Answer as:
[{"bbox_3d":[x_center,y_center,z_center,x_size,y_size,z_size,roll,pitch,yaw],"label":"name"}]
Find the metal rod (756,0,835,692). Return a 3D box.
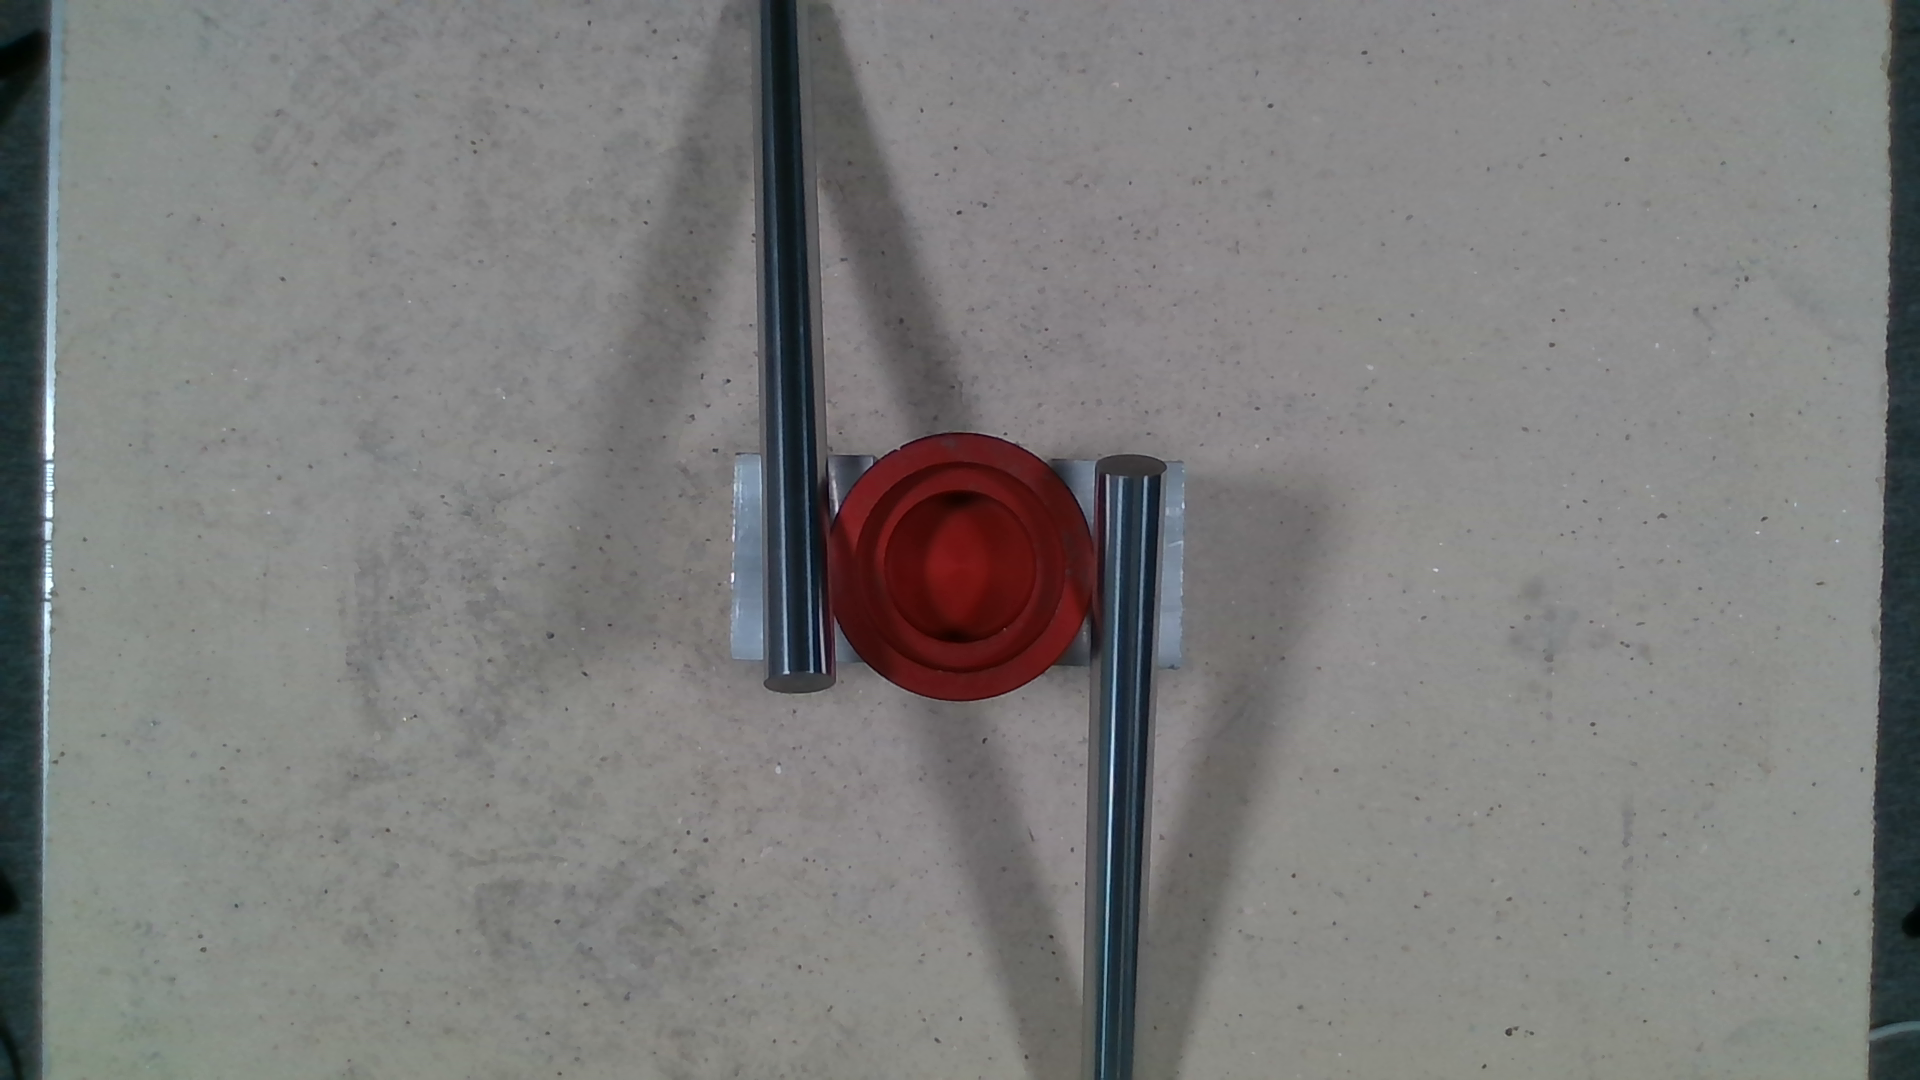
[{"bbox_3d":[-0.065,-0.088,0.531,0.025,0.025,0.299,-4,68,0],"label":"metal rod"}]

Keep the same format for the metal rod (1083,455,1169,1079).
[{"bbox_3d":[0.062,0.114,0.534,0.025,0.025,0.301,-1,112,0],"label":"metal rod"}]

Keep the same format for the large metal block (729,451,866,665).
[{"bbox_3d":[-0.061,0.007,0.559,0.050,0.080,0.080,1,90,0],"label":"large metal block"}]

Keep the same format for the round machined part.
[{"bbox_3d":[0.000,0.010,0.520,0.098,0.042,0.098,0,90,0],"label":"round machined part"}]

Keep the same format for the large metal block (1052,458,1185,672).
[{"bbox_3d":[0.059,0.009,0.560,0.050,0.080,0.080,1,90,0],"label":"large metal block"}]
